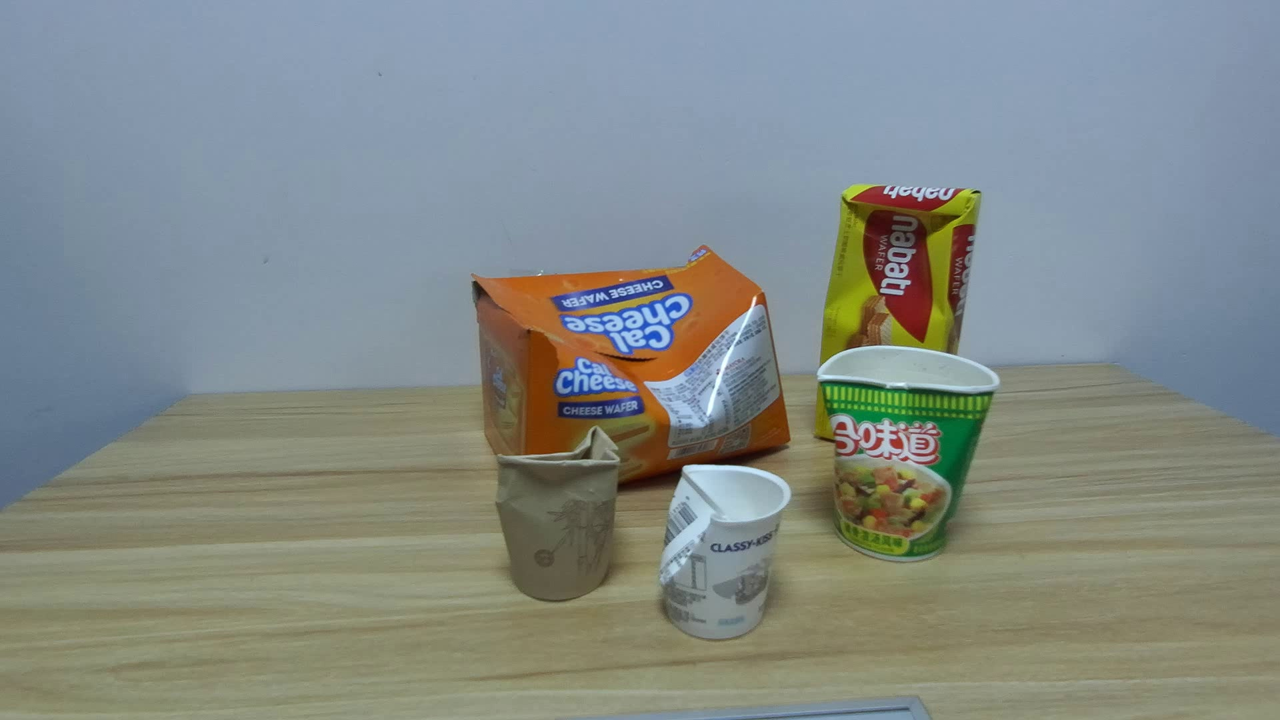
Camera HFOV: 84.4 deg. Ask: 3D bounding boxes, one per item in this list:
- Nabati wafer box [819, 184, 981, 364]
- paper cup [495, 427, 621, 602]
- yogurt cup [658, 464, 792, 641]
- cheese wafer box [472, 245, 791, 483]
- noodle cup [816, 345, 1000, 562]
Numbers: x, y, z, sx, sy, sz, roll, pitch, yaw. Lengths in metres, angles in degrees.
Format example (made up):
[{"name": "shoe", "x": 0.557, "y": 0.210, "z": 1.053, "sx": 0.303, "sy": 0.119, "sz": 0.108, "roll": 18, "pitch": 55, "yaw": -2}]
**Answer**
[{"name": "Nabati wafer box", "x": 0.194, "y": -0.028, "z": 0.543, "sx": 0.096, "sy": 0.203, "sz": 0.042, "roll": 13, "pitch": 20, "yaw": 33}, {"name": "paper cup", "x": -0.044, "y": 0.084, "z": 0.400, "sx": 0.066, "sy": 0.083, "sz": 0.058, "roll": 0, "pitch": 17, "yaw": 0}, {"name": "yogurt cup", "x": 0.043, "y": 0.099, "z": 0.366, "sx": 0.067, "sy": 0.070, "sz": 0.067, "roll": -1, "pitch": 16, "yaw": 1}, {"name": "cheese wafer box", "x": -0.002, "y": 0.002, "z": 0.556, "sx": 0.220, "sy": 0.145, "sz": 0.190, "roll": -8, "pitch": 19, "yaw": -22}, {"name": "noodle cup", "x": 0.160, "y": 0.056, "z": 0.430, "sx": 0.093, "sy": 0.109, "sz": 0.087, "roll": 14, "pitch": 23, "yaw": 36}]
